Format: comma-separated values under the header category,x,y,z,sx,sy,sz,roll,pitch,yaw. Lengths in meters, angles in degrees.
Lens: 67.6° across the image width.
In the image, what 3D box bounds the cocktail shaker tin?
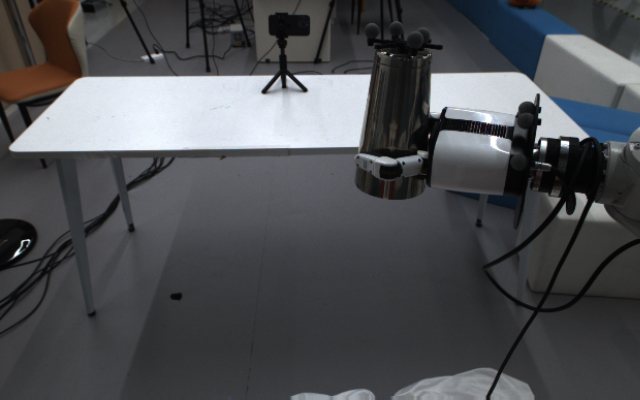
category,x,y,z,sx,sy,sz,roll,pitch,yaw
cocktail shaker tin,0.096,-0.097,0.600,0.093,0.170,0.093,1,28,-1
